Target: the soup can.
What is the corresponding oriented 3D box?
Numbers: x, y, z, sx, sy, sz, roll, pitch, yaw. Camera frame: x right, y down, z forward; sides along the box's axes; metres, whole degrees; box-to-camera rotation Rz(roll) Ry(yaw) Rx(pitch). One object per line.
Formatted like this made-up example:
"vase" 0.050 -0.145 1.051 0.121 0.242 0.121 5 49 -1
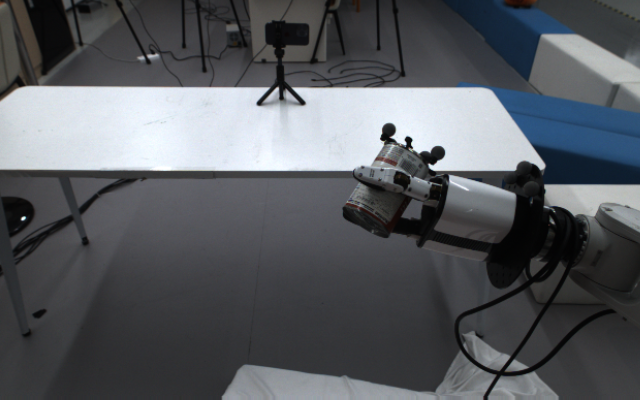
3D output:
"soup can" 0.083 -0.015 0.607 0.067 0.067 0.101 27 76 31
